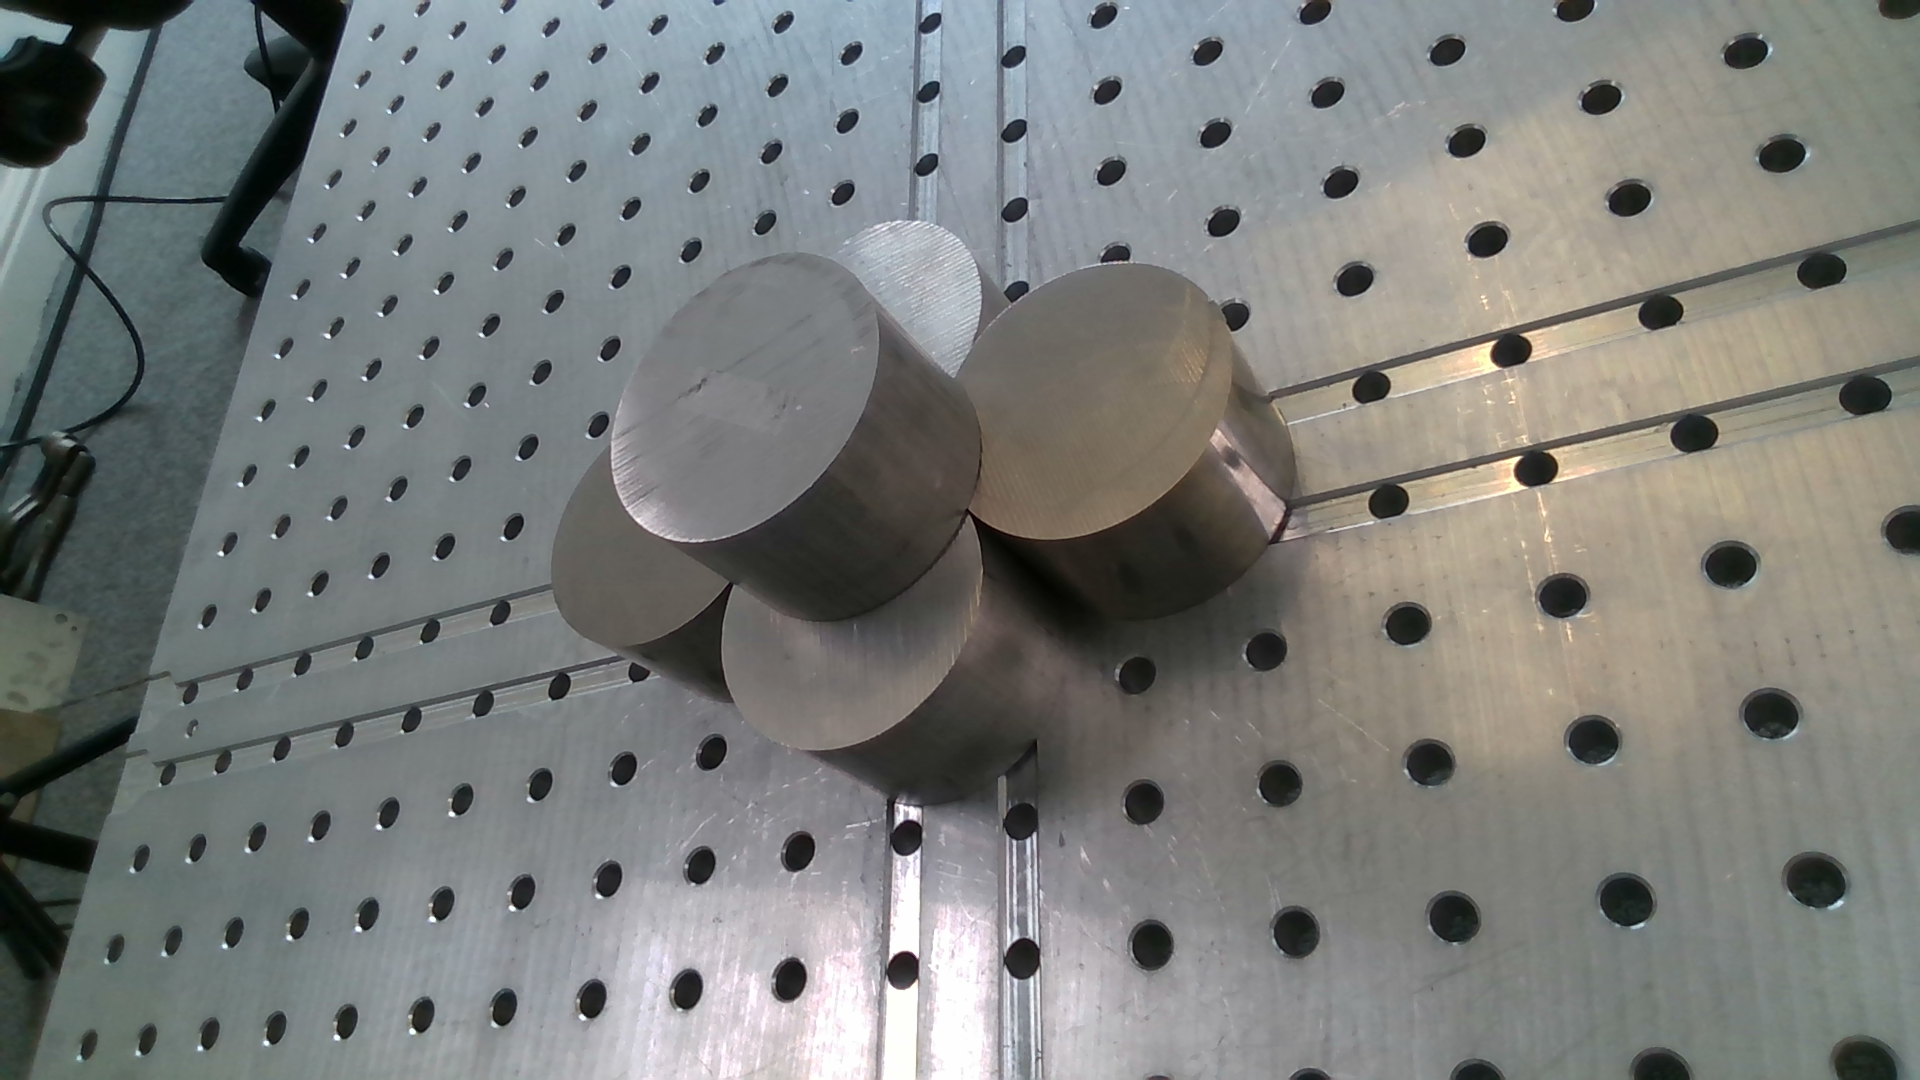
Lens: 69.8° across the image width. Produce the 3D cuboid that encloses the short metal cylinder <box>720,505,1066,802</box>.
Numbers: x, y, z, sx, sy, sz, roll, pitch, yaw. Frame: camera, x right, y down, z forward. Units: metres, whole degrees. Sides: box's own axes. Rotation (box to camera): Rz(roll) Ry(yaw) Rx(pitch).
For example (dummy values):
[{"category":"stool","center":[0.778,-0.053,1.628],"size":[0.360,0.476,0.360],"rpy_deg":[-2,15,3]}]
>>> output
[{"category":"short metal cylinder","center":[-0.018,0.026,0.376],"size":[0.080,0.050,0.080],"rpy_deg":[-14,59,25]}]

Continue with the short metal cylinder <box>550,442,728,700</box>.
[{"category":"short metal cylinder","center":[-0.078,0.003,0.425],"size":[0.080,0.050,0.080],"rpy_deg":[-13,60,23]}]

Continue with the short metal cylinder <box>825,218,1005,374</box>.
[{"category":"short metal cylinder","center":[-0.017,-0.049,0.416],"size":[0.080,0.050,0.080],"rpy_deg":[-14,59,25]}]

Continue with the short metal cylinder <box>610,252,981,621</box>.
[{"category":"short metal cylinder","center":[-0.042,-0.026,0.353],"size":[0.080,0.050,0.080],"rpy_deg":[-14,59,25]}]

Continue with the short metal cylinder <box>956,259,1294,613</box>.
[{"category":"short metal cylinder","center":[0.043,-0.027,0.367],"size":[0.080,0.050,0.080],"rpy_deg":[-14,60,25]}]
